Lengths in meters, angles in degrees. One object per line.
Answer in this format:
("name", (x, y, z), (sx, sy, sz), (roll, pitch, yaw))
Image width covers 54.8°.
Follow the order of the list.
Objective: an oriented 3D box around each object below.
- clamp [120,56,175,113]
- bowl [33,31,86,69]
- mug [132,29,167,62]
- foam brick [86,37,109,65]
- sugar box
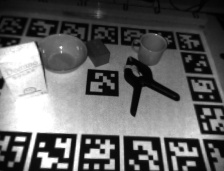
("clamp", (0.084, -0.025, 0.684), (0.166, 0.037, 0.201), (-17, 63, -16))
("bowl", (-0.167, -0.107, 0.694), (0.162, 0.055, 0.161), (5, 57, -7))
("mug", (0.120, -0.140, 0.741), (0.117, 0.081, 0.093), (27, 58, 5))
("foam brick", (-0.051, -0.118, 0.728), (0.053, 0.051, 0.077), (-21, 63, -19))
("sugar box", (-0.236, -0.034, 0.563), (0.093, 0.176, 0.045), (-18, 63, -20))
